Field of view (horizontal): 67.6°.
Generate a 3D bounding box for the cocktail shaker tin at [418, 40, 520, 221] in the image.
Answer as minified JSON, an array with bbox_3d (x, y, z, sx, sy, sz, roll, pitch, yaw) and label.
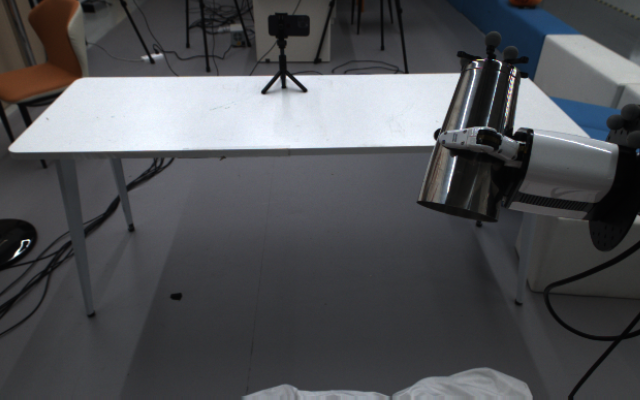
[{"bbox_3d":[0.178,-0.069,0.558,0.093,0.170,0.093,16,-4,1],"label":"cocktail shaker tin"}]
